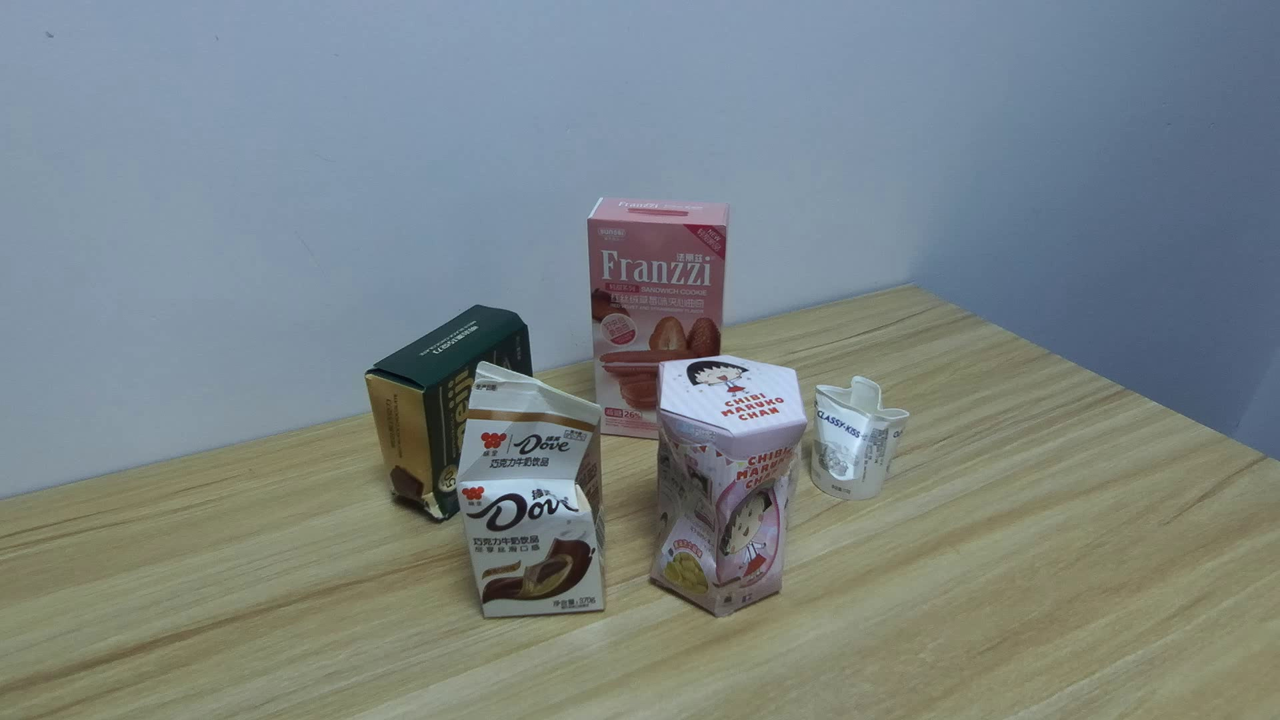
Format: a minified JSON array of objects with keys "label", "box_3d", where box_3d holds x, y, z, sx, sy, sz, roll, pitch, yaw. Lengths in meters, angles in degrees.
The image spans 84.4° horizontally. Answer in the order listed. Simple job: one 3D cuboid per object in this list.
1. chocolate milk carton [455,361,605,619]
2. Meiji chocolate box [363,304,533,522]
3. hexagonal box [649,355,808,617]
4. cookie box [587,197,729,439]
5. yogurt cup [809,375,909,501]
[{"label":"chocolate milk carton","box_3d":[-0.059,0.067,0.405,0.076,0.156,0.073,-1,32,-3]},{"label":"Meiji chocolate box","box_3d":[-0.130,0.034,0.509,0.058,0.116,0.123,16,33,26]},{"label":"hexagonal box","box_3d":[0.046,0.073,0.414,0.093,0.135,0.089,16,33,25]},{"label":"cookie box","box_3d":[0.015,-0.025,0.535,0.096,0.185,0.048,4,31,7]},{"label":"yogurt cup","box_3d":[0.155,0.056,0.506,0.055,0.072,0.054,-8,32,-18]}]
